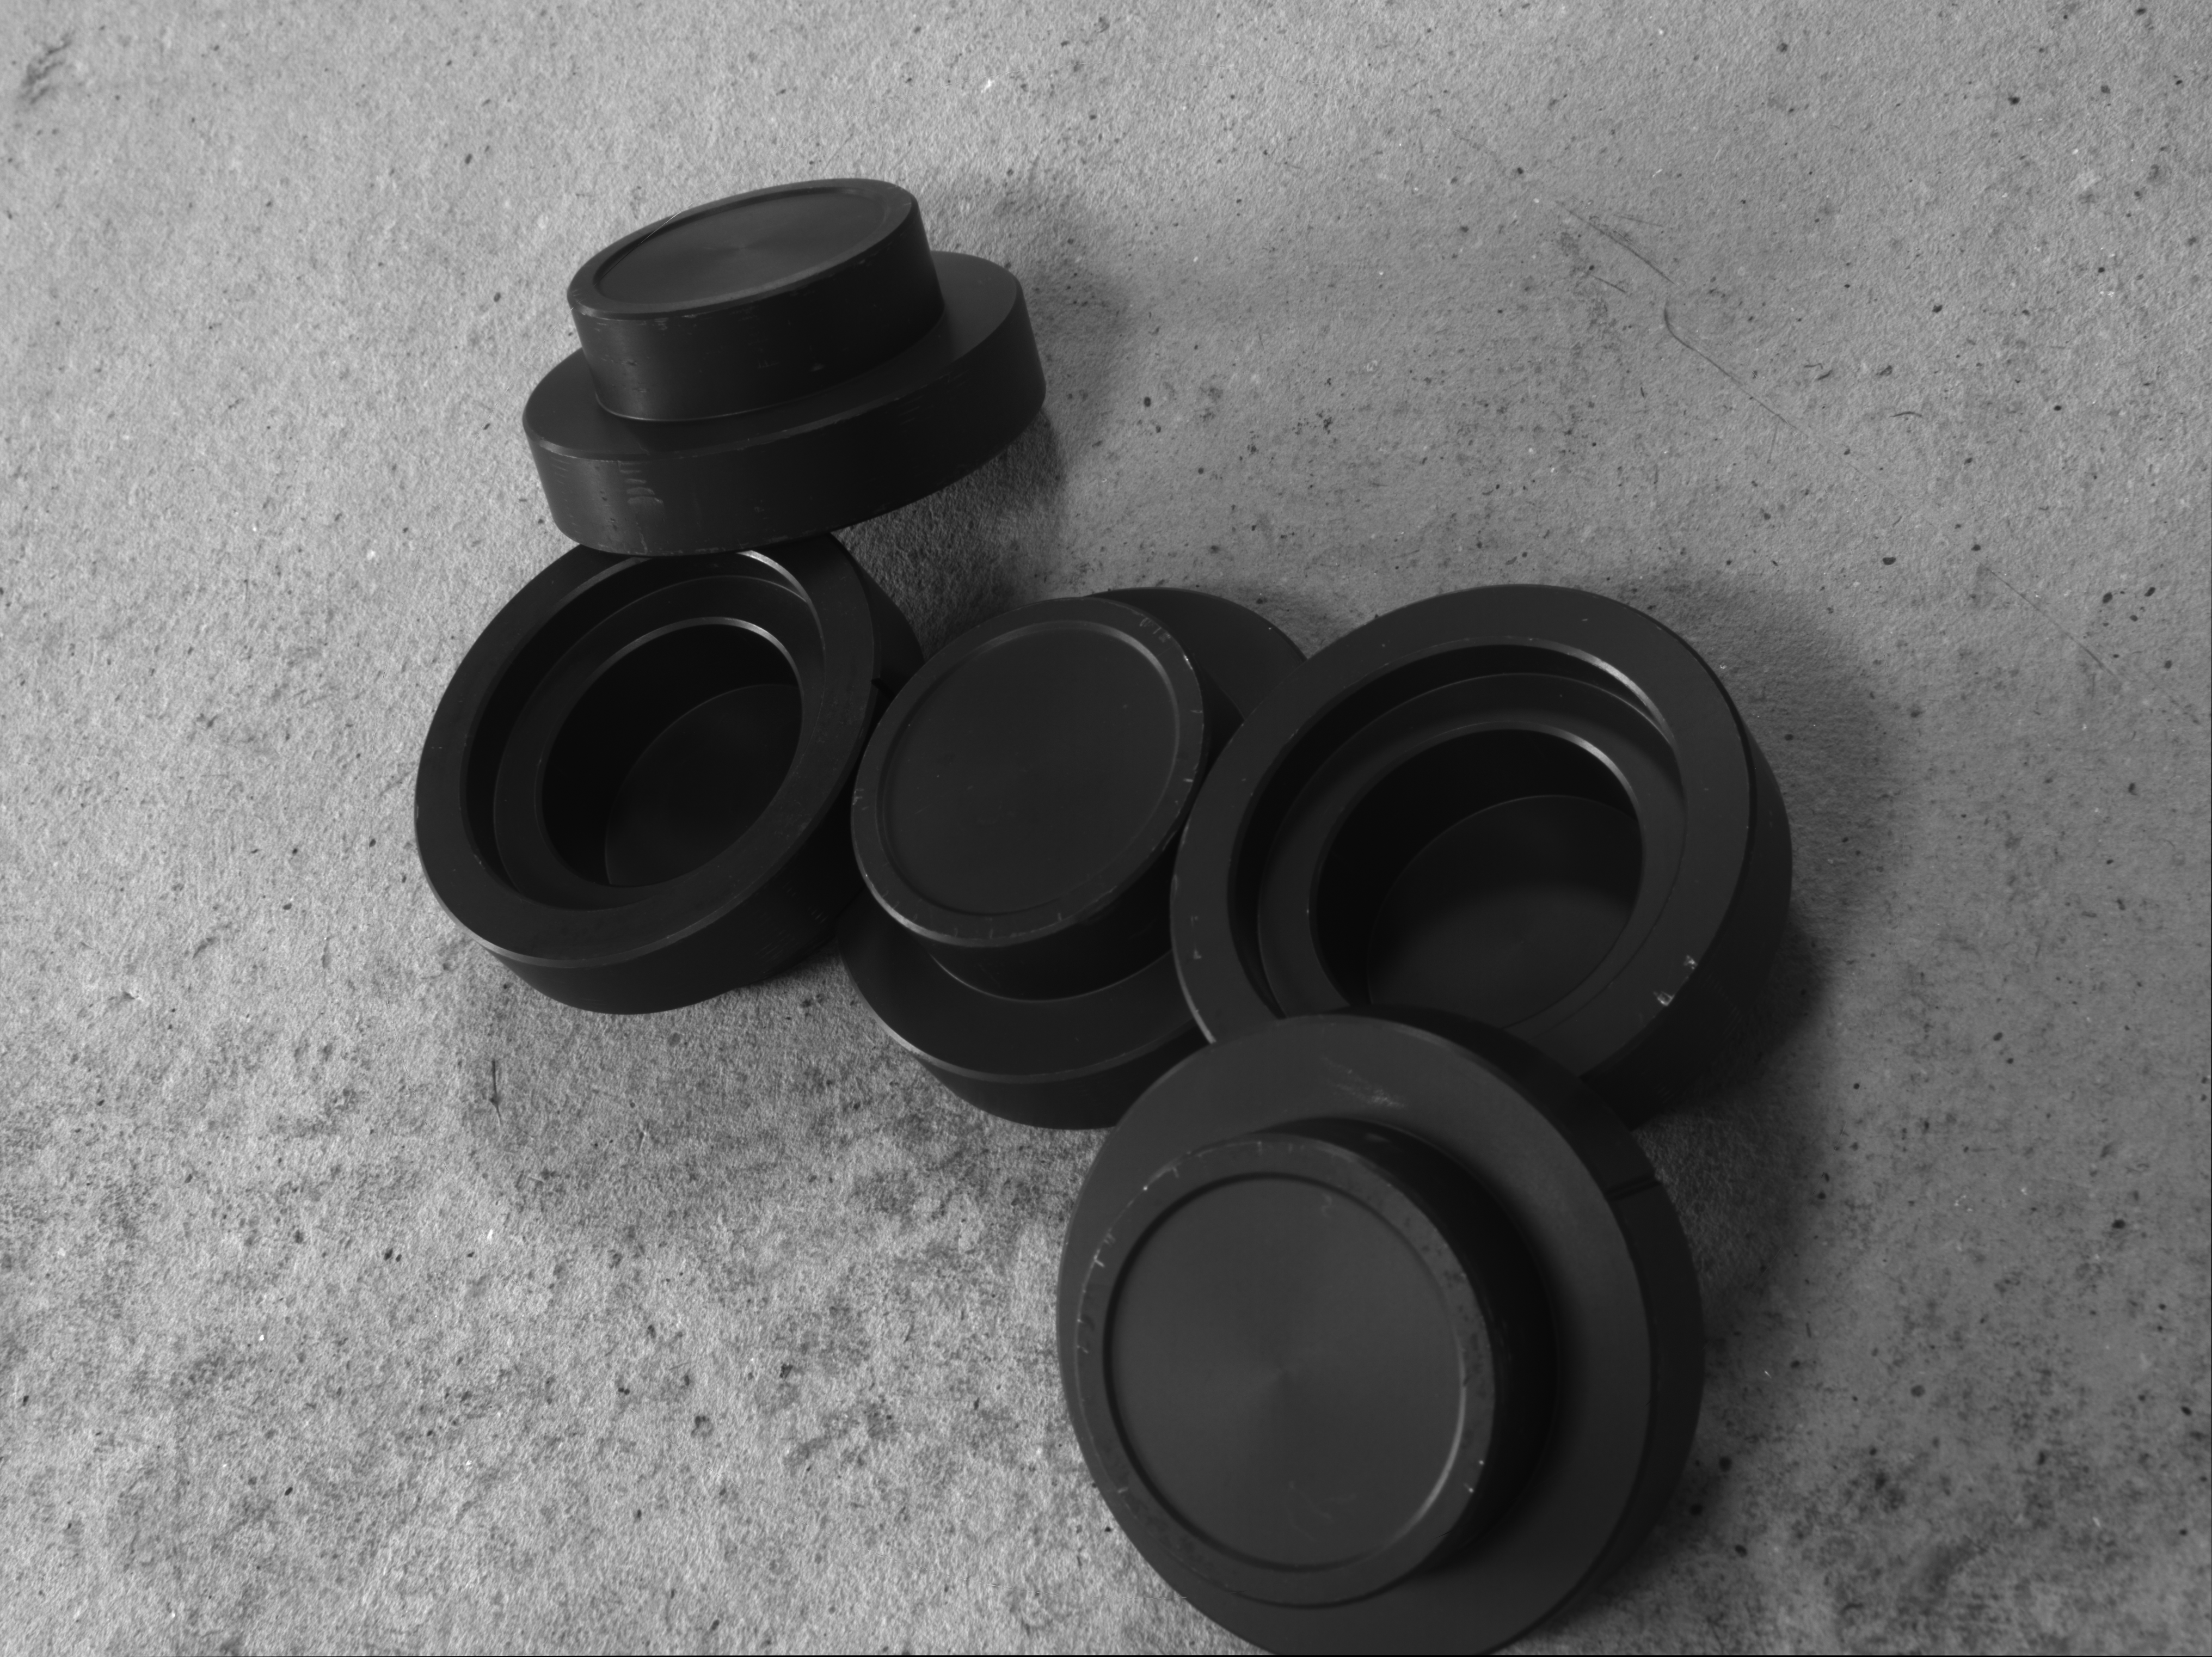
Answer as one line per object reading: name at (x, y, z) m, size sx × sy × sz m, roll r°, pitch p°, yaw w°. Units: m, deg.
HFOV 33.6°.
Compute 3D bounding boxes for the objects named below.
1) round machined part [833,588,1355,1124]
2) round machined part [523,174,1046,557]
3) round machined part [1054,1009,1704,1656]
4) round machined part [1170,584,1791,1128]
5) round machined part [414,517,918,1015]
round machined part at (-0.005, -0.002, 0.636) m, size 0.098 × 0.042 × 0.098 m, roll -15°, pitch 53°, yaw 21°
round machined part at (-0.064, -0.092, 0.696) m, size 0.098 × 0.042 × 0.098 m, roll -12°, pitch 27°, yaw 6°
round machined part at (0.034, 0.076, 0.539) m, size 0.098 × 0.042 × 0.098 m, roll 0°, pitch 91°, yaw 29°
round machined part at (0.063, 0.013, 0.591) m, size 0.098 × 0.042 × 0.098 m, roll -14°, pitch 56°, yaw 22°
round machined part at (-0.076, -0.009, 0.680) m, size 0.098 × 0.042 × 0.098 m, roll -14°, pitch 56°, yaw 22°
